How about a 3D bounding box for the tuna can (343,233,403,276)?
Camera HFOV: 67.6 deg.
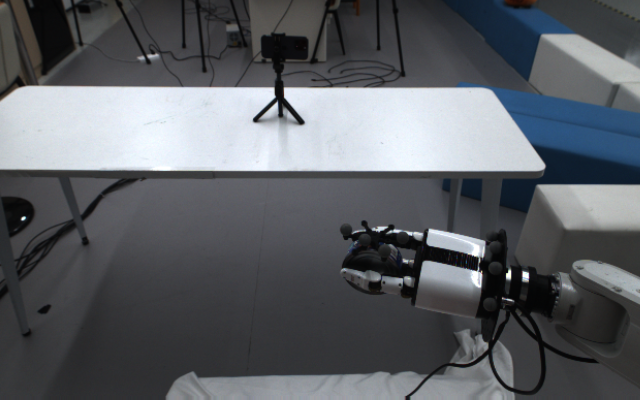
[{"bbox_3d":[0.079,0.093,0.707,0.085,0.085,0.034,10,34,12],"label":"tuna can"}]
